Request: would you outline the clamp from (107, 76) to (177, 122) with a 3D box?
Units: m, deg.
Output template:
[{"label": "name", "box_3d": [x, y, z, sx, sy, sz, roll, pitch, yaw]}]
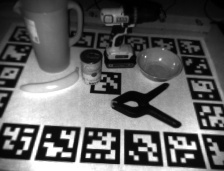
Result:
[{"label": "clamp", "box_3d": [0.086, 0.035, 0.663, 0.203, 0.037, 0.164, 2, 55, -4]}]

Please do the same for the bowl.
[{"label": "bowl", "box_3d": [0.151, -0.085, 0.763, 0.162, 0.055, 0.161, 2, 52, -2]}]

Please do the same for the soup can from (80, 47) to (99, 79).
[{"label": "soup can", "box_3d": [-0.076, -0.081, 0.712, 0.068, 0.102, 0.067, 2, 42, -1]}]

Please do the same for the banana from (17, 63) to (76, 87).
[{"label": "banana", "box_3d": [-0.203, -0.028, 0.700, 0.199, 0.039, 0.073, -16, 46, -19]}]

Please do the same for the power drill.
[{"label": "power drill", "box_3d": [0.048, -0.189, 0.730, 0.185, 0.188, 0.057, -1, 51, -5]}]

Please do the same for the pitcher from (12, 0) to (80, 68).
[{"label": "pitcher", "box_3d": [-0.191, -0.181, 0.691, 0.190, 0.243, 0.132, -16, 51, -17]}]
